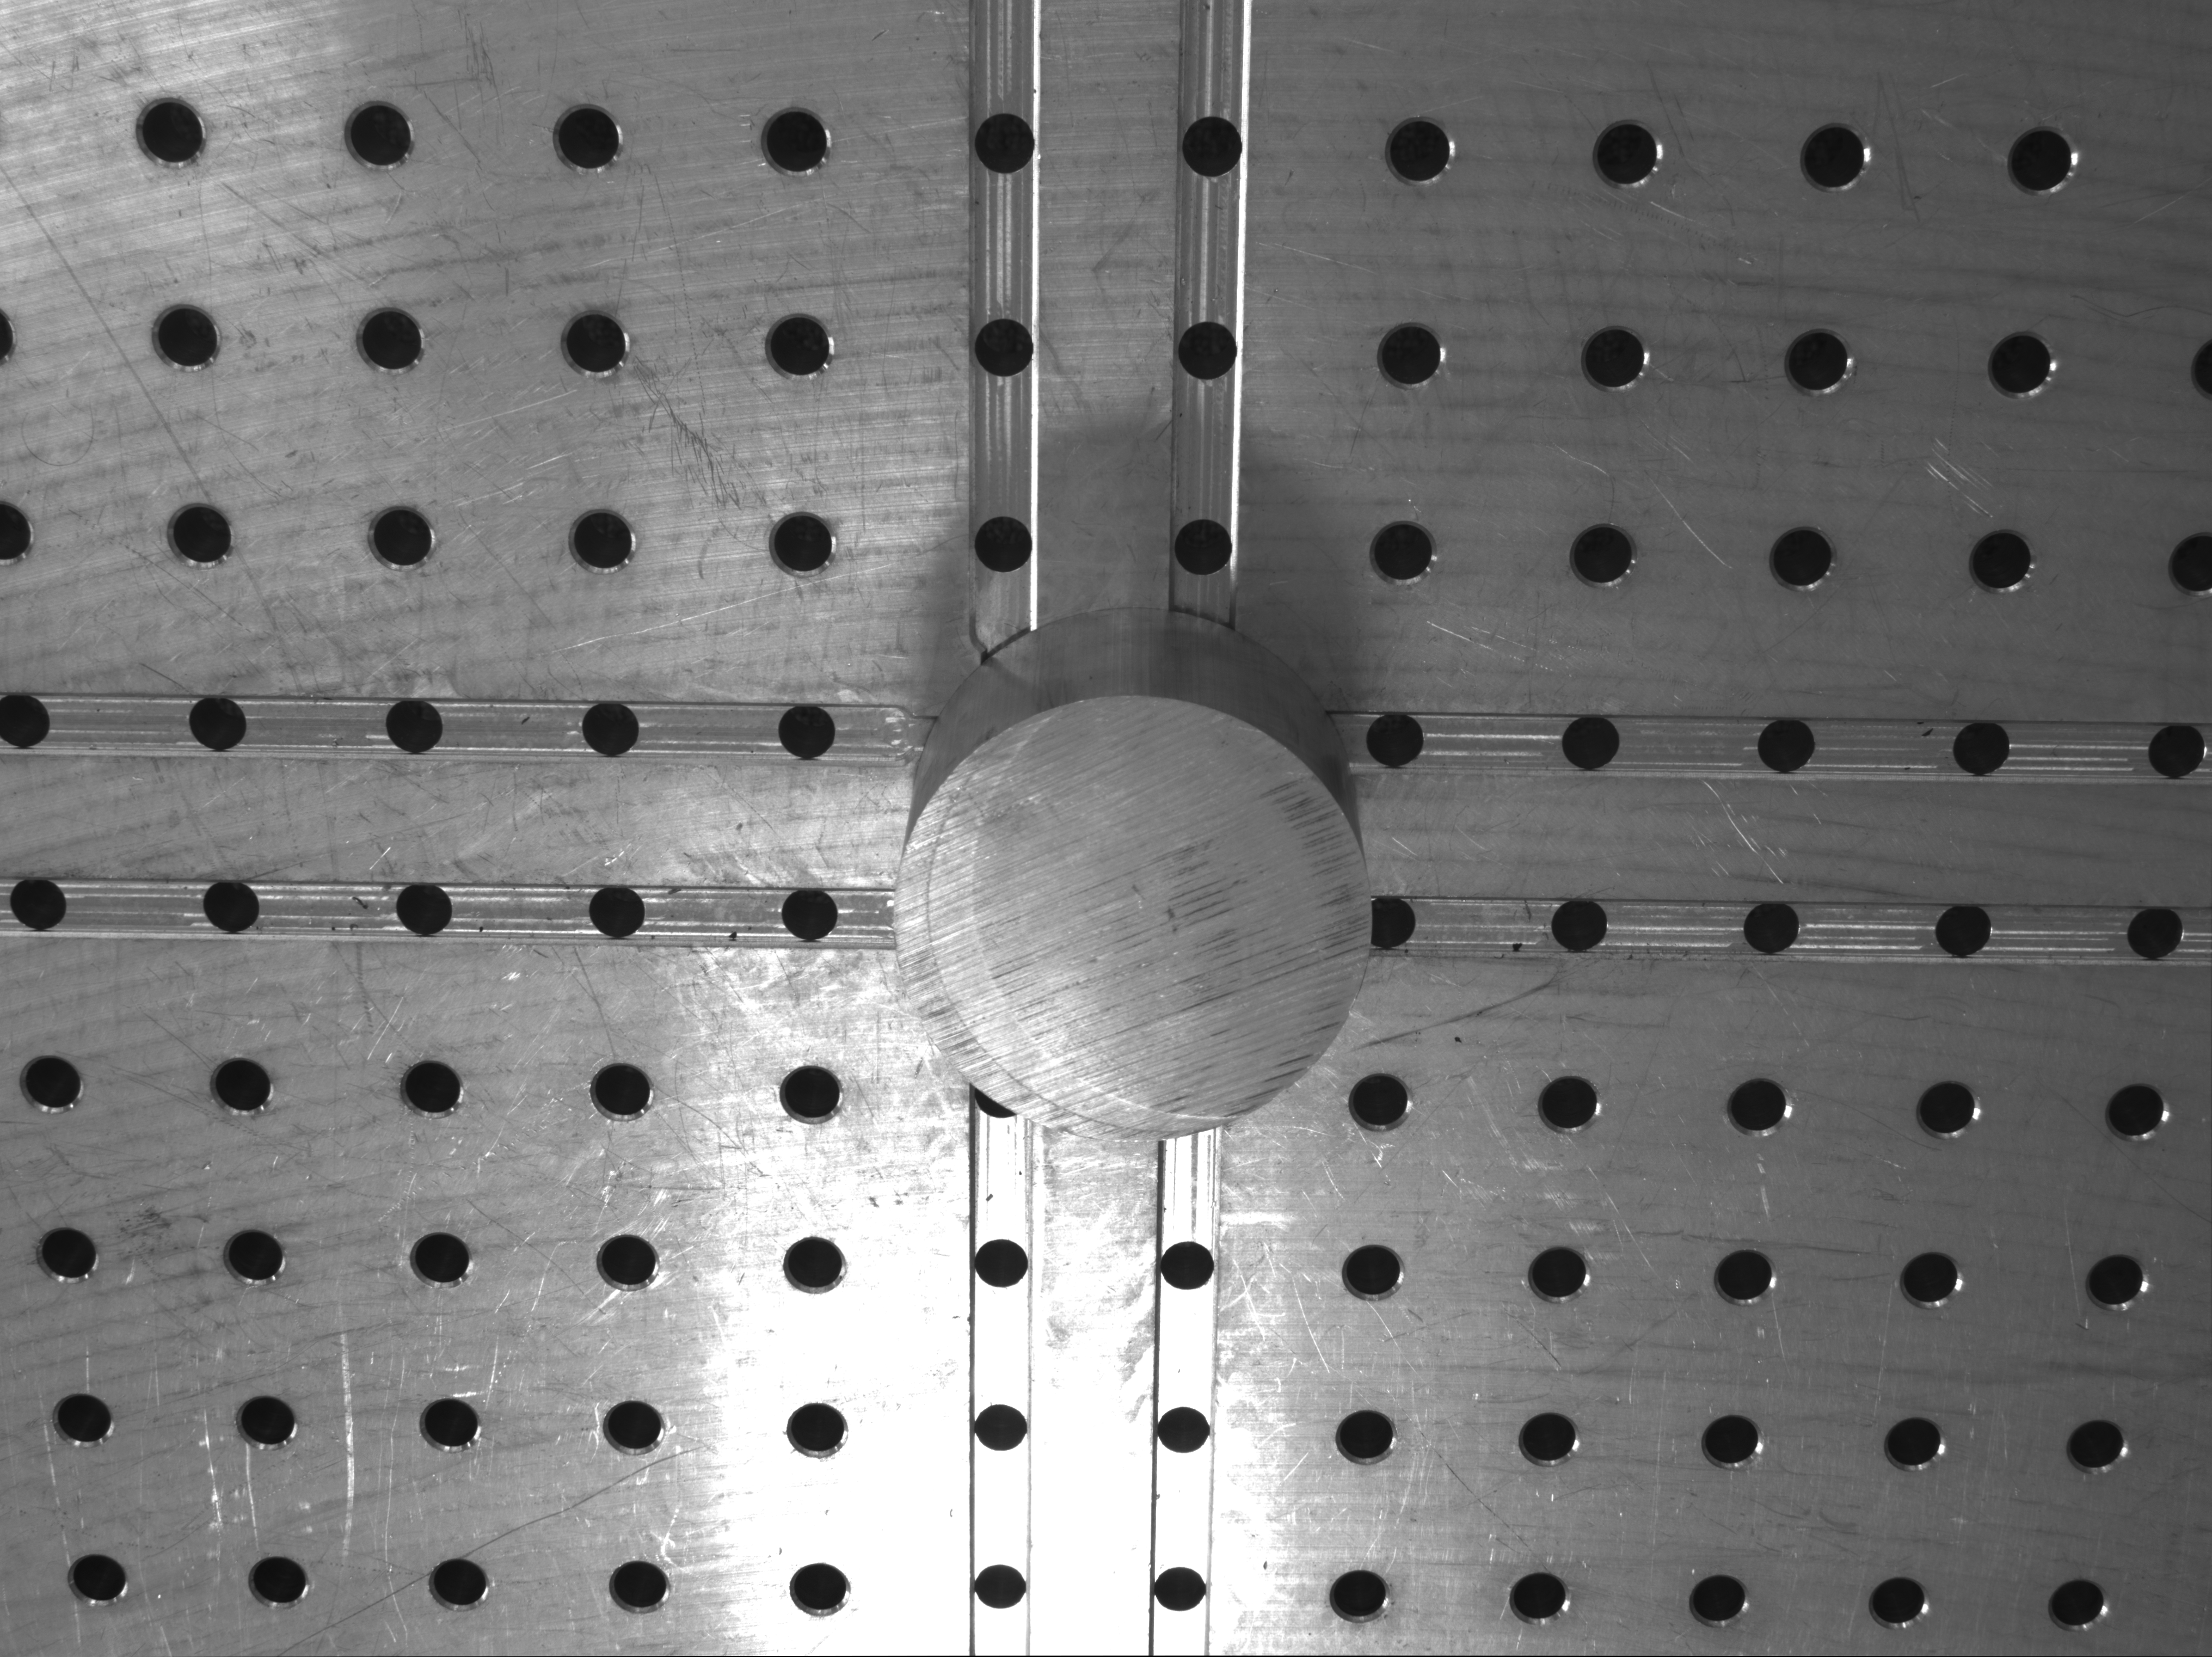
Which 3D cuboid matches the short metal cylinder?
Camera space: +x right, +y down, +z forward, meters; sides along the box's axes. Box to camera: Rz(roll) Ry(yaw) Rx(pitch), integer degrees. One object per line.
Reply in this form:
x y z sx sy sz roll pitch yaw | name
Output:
0.004 0.008 0.636 0.080 0.050 0.080 0 110 0 | short metal cylinder
